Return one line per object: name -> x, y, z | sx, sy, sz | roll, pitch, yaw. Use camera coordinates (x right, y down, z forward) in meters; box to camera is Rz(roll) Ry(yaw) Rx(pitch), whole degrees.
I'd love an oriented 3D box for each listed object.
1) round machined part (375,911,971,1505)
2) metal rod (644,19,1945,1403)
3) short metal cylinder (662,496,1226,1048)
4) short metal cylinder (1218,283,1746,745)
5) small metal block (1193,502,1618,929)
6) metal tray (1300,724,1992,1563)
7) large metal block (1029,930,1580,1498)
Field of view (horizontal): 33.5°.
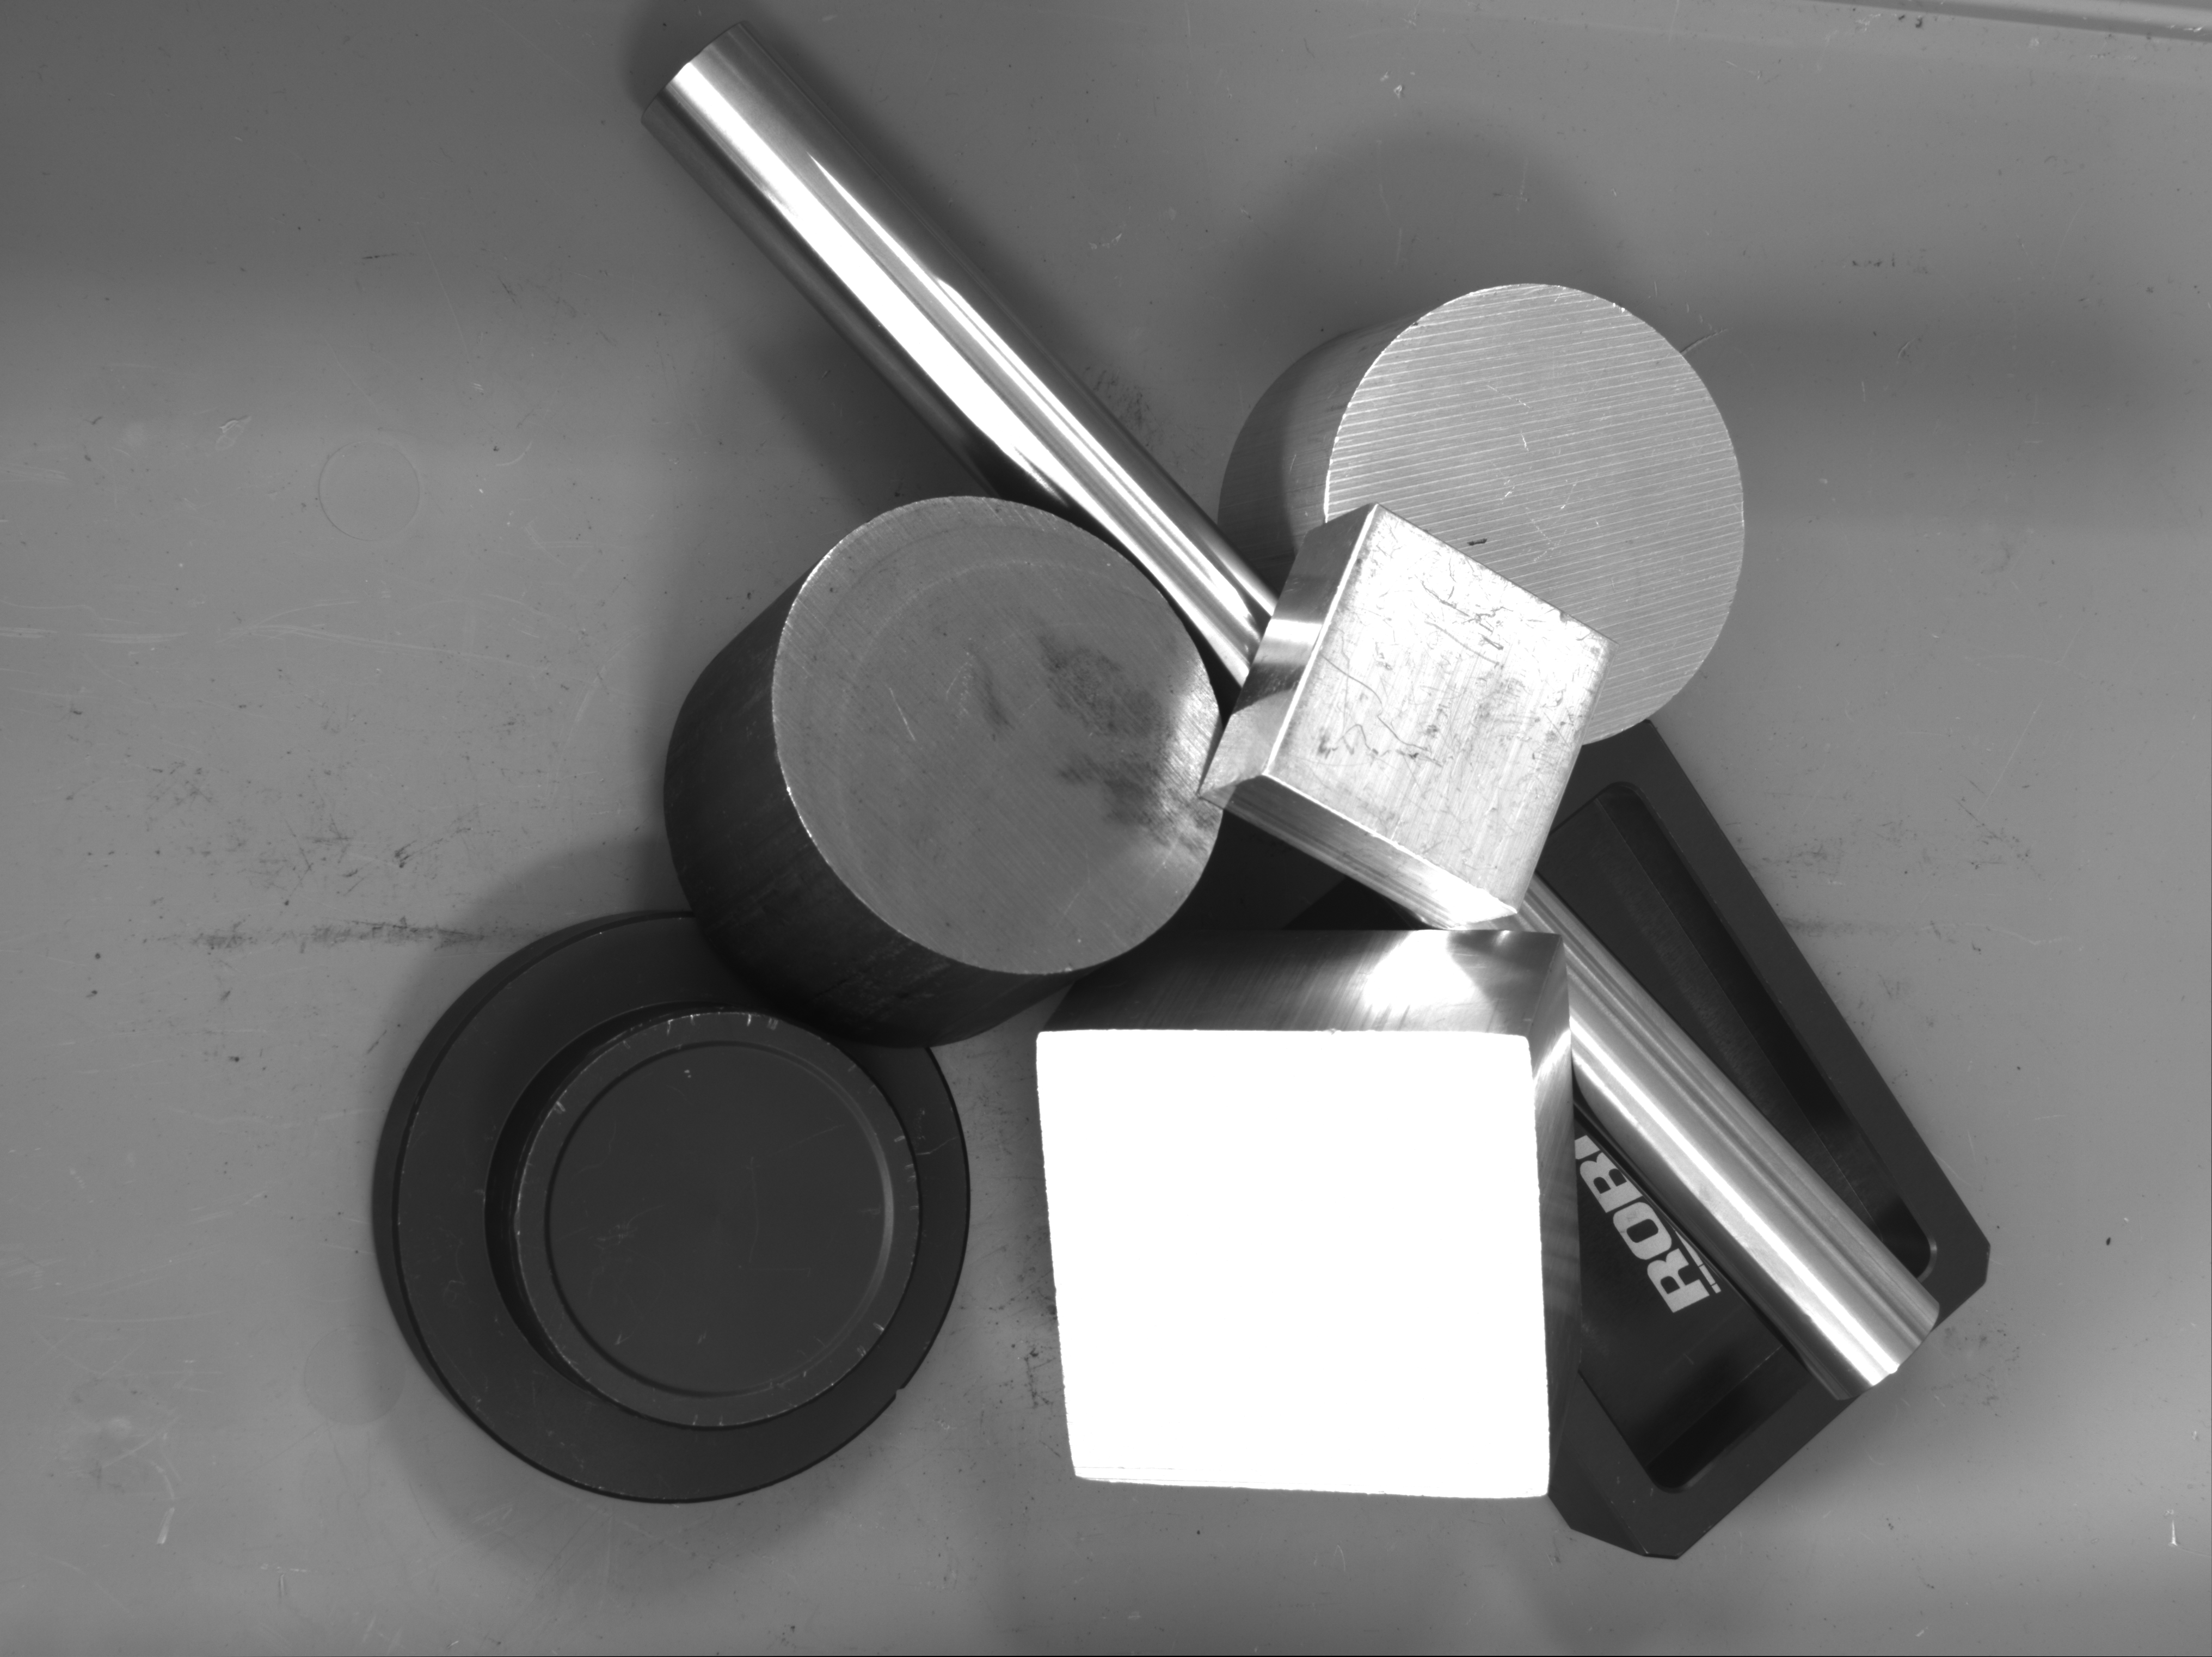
round machined part -> -0.069, 0.063, 0.608 | 0.098, 0.042, 0.098 | 0, 90, -20
metal rod -> 0.034, -0.018, 0.628 | 0.025, 0.025, 0.300 | -44, 94, -14
short metal cylinder -> -0.027, -0.008, 0.607 | 0.080, 0.050, 0.080 | 9, 70, -25
short metal cylinder -> 0.066, -0.053, 0.653 | 0.080, 0.050, 0.080 | 0, 90, -20
small metal block -> 0.049, -0.018, 0.604 | 0.050, 0.025, 0.050 | 28, 73, -17
metal tray -> 0.093, 0.056, 0.673 | 0.090, 0.030, 0.130 | -38, 102, -16
large metal block -> 0.035, 0.063, 0.614 | 0.080, 0.050, 0.080 | -1, 107, 13
